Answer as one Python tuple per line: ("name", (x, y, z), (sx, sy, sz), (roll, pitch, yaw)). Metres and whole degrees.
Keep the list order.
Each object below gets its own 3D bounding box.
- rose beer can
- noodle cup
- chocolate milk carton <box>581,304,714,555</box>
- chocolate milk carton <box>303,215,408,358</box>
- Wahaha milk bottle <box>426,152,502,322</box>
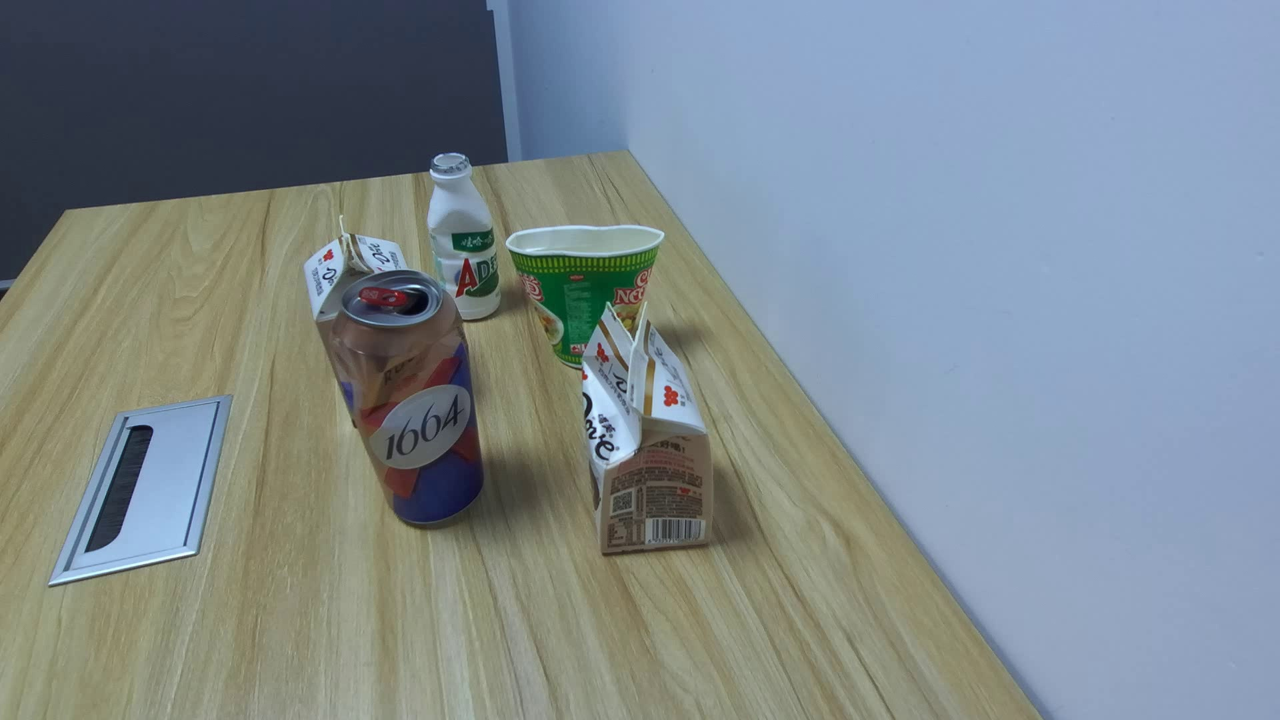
("rose beer can", (-0.139, 0.029, 0.441), (0.076, 0.167, 0.065), (-24, 46, -32))
("noodle cup", (-0.044, -0.054, 0.583), (0.115, 0.111, 0.070), (12, 43, 14))
("chocolate milk carton", (0.004, 0.041, 0.433), (0.074, 0.156, 0.076), (-6, 39, -4))
("chocolate milk carton", (-0.203, -0.034, 0.533), (0.074, 0.148, 0.075), (-17, 45, -19))
("Wahaha milk bottle", (-0.156, -0.106, 0.621), (0.056, 0.148, 0.056), (2, 40, -1))
